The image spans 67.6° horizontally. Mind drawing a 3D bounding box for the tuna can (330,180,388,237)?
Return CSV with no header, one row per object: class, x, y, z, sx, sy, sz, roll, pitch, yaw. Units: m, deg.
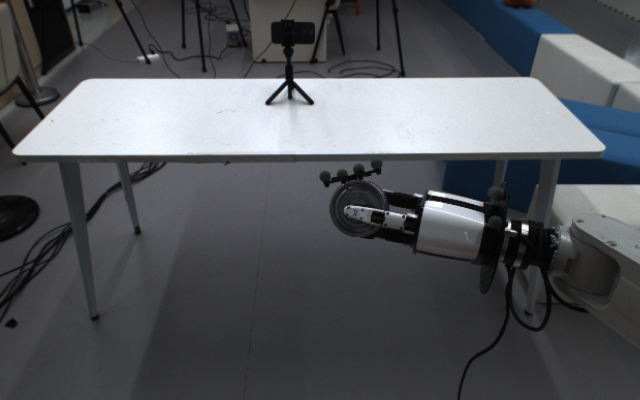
tuna can,0.062,0.018,0.713,0.085,0.085,0.034,12,3,14
